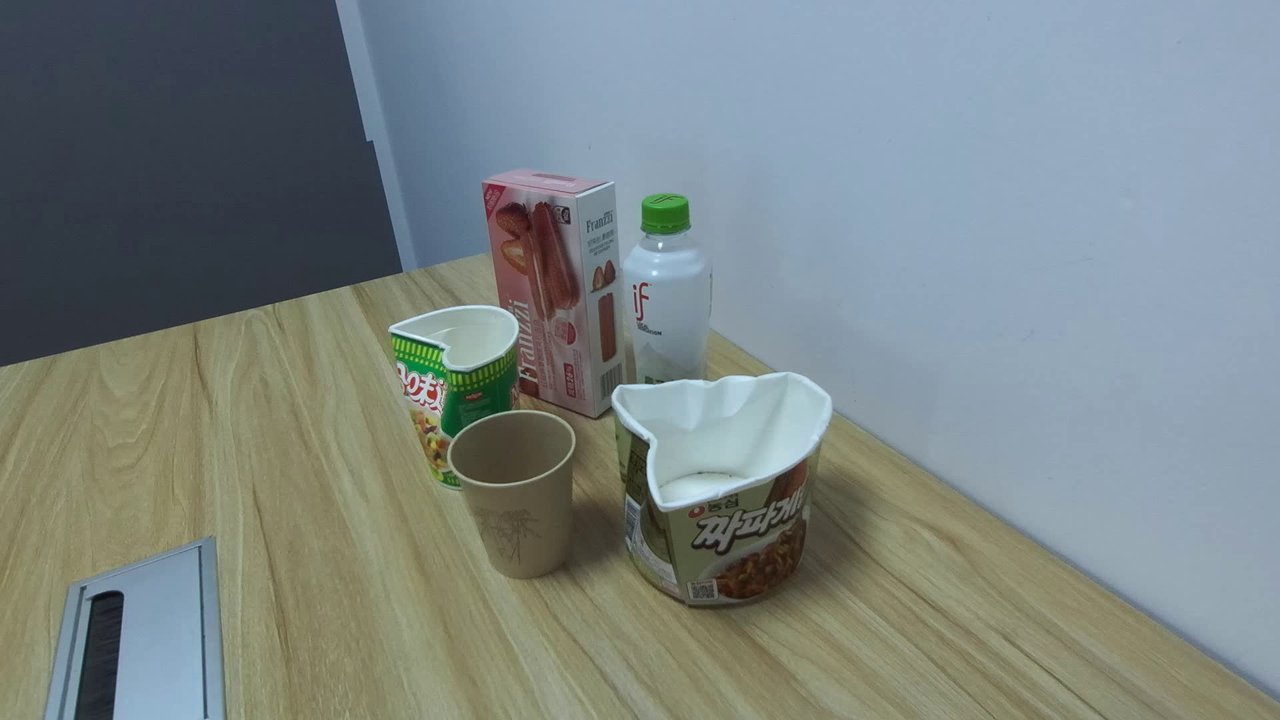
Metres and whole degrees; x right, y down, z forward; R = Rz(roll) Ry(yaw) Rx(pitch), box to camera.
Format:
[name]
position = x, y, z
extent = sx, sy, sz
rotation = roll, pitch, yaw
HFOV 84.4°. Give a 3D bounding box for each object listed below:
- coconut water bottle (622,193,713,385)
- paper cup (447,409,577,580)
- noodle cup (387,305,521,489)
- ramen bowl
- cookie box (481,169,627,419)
[coconut water bottle]
position = 0.020, -0.017, 0.494
extent = 0.063, 0.189, 0.063
rotation = -2, 25, 1
[paper cup]
position = -0.073, 0.086, 0.435
extent = 0.075, 0.082, 0.075
rotation = -2, 30, 2
[noodle cup]
position = -0.122, 0.030, 0.508
extent = 0.087, 0.109, 0.093
rotation = -15, 33, -18
[ramen bowl]
position = 0.055, 0.071, 0.427
extent = 0.134, 0.098, 0.113
rotation = -14, 32, -16
[cookie box]
position = -0.065, -0.052, 0.569
extent = 0.096, 0.185, 0.048
rotation = 16, 33, 32
